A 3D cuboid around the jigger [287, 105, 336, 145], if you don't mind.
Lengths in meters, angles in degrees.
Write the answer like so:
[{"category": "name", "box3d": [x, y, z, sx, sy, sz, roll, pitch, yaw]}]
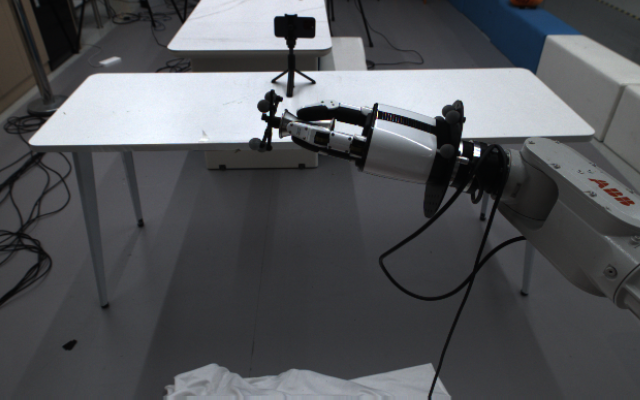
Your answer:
[{"category": "jigger", "box3d": [-0.011, -0.099, 0.651, 0.071, 0.043, 0.043, 12, 36, 5]}]
